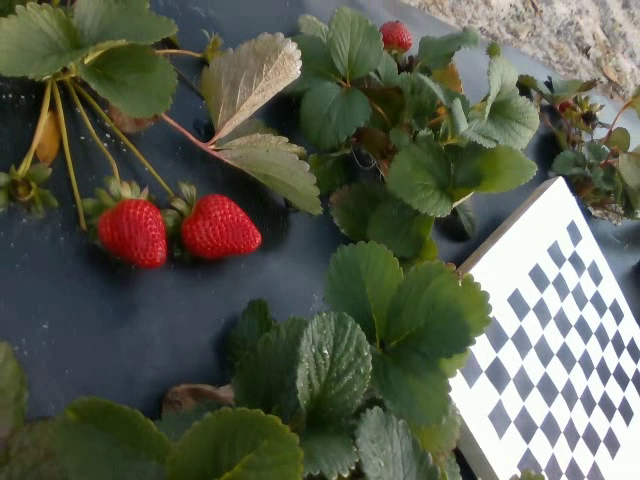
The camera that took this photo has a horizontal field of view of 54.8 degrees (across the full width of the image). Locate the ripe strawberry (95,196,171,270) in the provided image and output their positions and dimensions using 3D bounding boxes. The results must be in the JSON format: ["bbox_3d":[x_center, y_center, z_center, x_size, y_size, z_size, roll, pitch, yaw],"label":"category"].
[{"bbox_3d":[-0.120,-0.002,0.408,0.048,0.056,0.041,-16,-28,-41],"label":"ripe strawberry"}]

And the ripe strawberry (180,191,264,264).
[{"bbox_3d":[-0.069,-0.009,0.443,0.064,0.058,0.051,24,-37,8],"label":"ripe strawberry"}]
